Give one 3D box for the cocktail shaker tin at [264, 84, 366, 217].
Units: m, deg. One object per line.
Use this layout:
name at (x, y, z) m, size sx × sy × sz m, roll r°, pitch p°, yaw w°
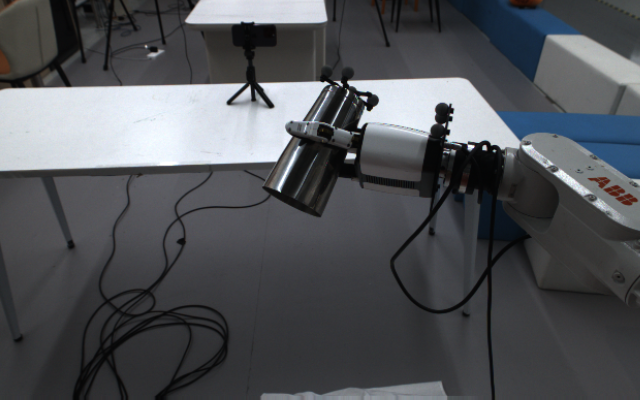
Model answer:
cocktail shaker tin at (0.000, -0.075, 0.680) m, size 0.093 × 0.093 × 0.170 m, roll 21°, pitch 81°, yaw 25°
